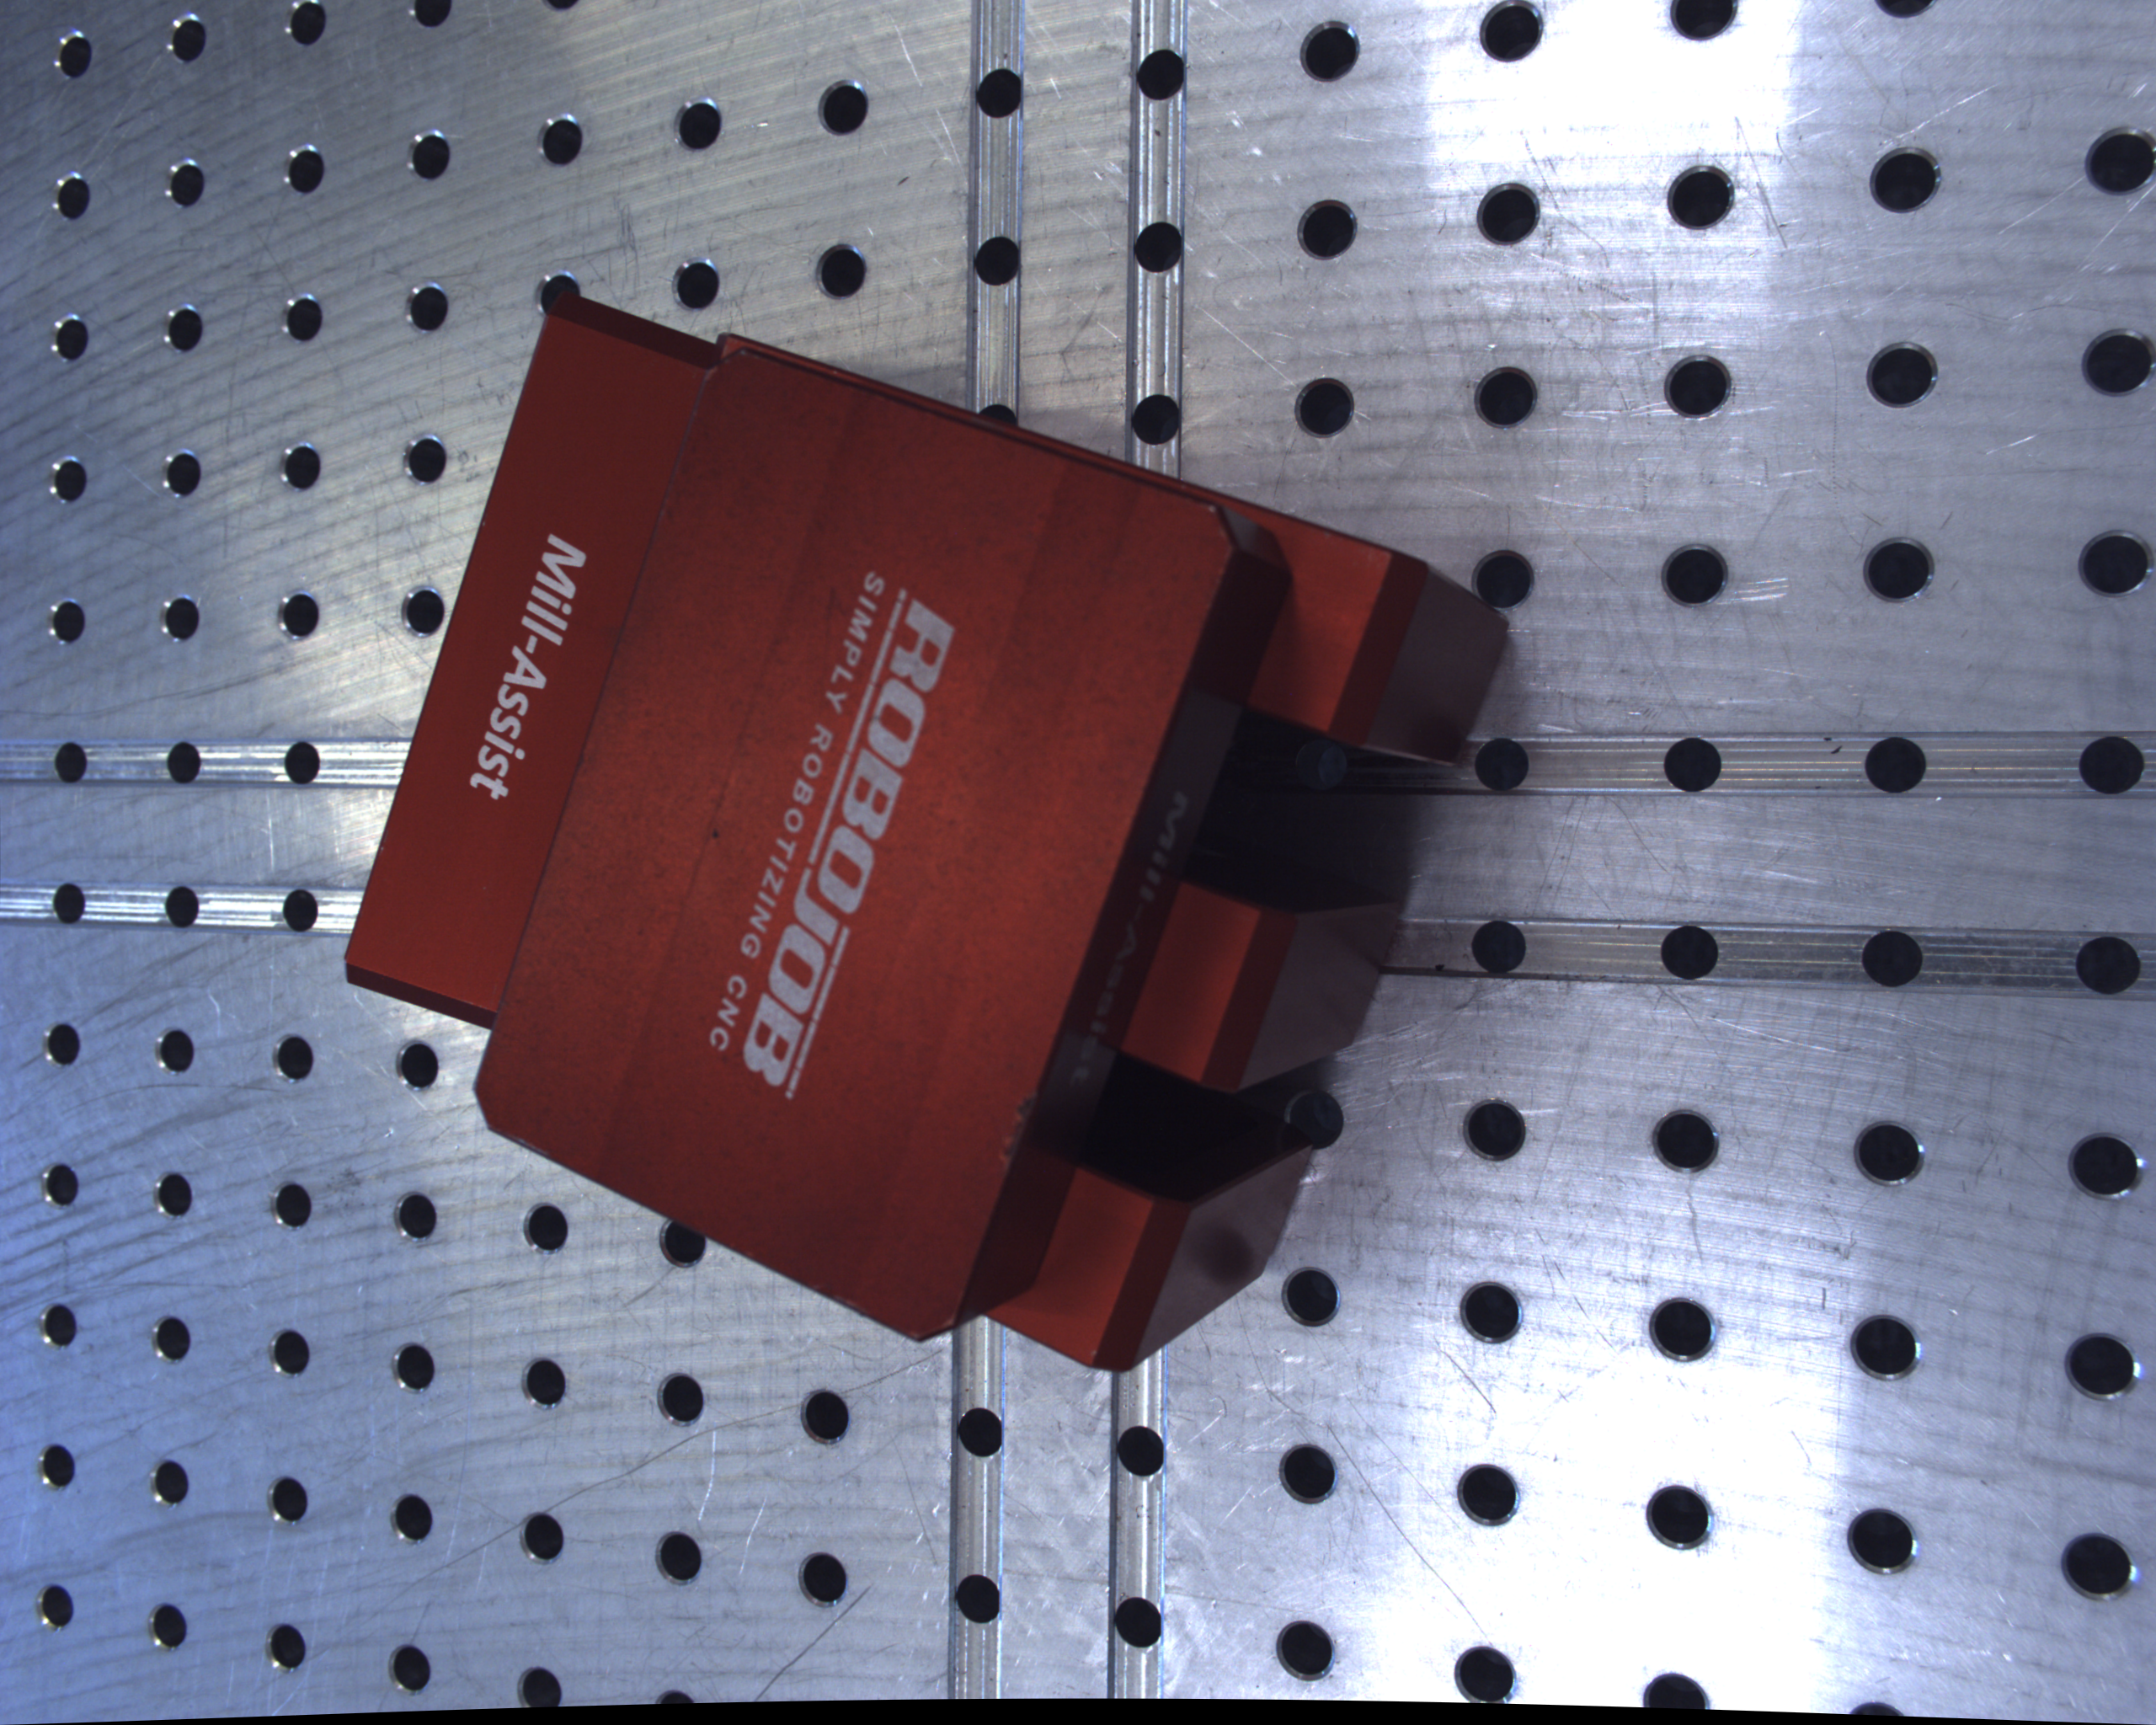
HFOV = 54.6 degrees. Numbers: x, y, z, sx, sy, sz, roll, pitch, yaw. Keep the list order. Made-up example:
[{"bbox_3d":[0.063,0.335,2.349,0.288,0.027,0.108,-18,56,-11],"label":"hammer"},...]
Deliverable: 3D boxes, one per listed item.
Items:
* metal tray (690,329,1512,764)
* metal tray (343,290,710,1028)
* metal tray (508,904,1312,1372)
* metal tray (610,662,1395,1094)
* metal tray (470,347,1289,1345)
[{"bbox_3d":[0.005,-0.055,0.375,0.130,0.090,0.030,22,98,19],"label":"metal tray"},{"bbox_3d":[-0.097,-0.039,0.410,0.030,0.090,0.129,19,97,-3],"label":"metal tray"},{"bbox_3d":[-0.030,0.044,0.389,0.130,0.090,0.030,22,98,18],"label":"metal tray"},{"bbox_3d":[-0.015,0.001,0.382,0.130,0.090,0.030,21,96,17],"label":"metal tray"},{"bbox_3d":[-0.033,-0.004,0.325,0.090,0.030,0.129,22,97,19],"label":"metal tray"}]
